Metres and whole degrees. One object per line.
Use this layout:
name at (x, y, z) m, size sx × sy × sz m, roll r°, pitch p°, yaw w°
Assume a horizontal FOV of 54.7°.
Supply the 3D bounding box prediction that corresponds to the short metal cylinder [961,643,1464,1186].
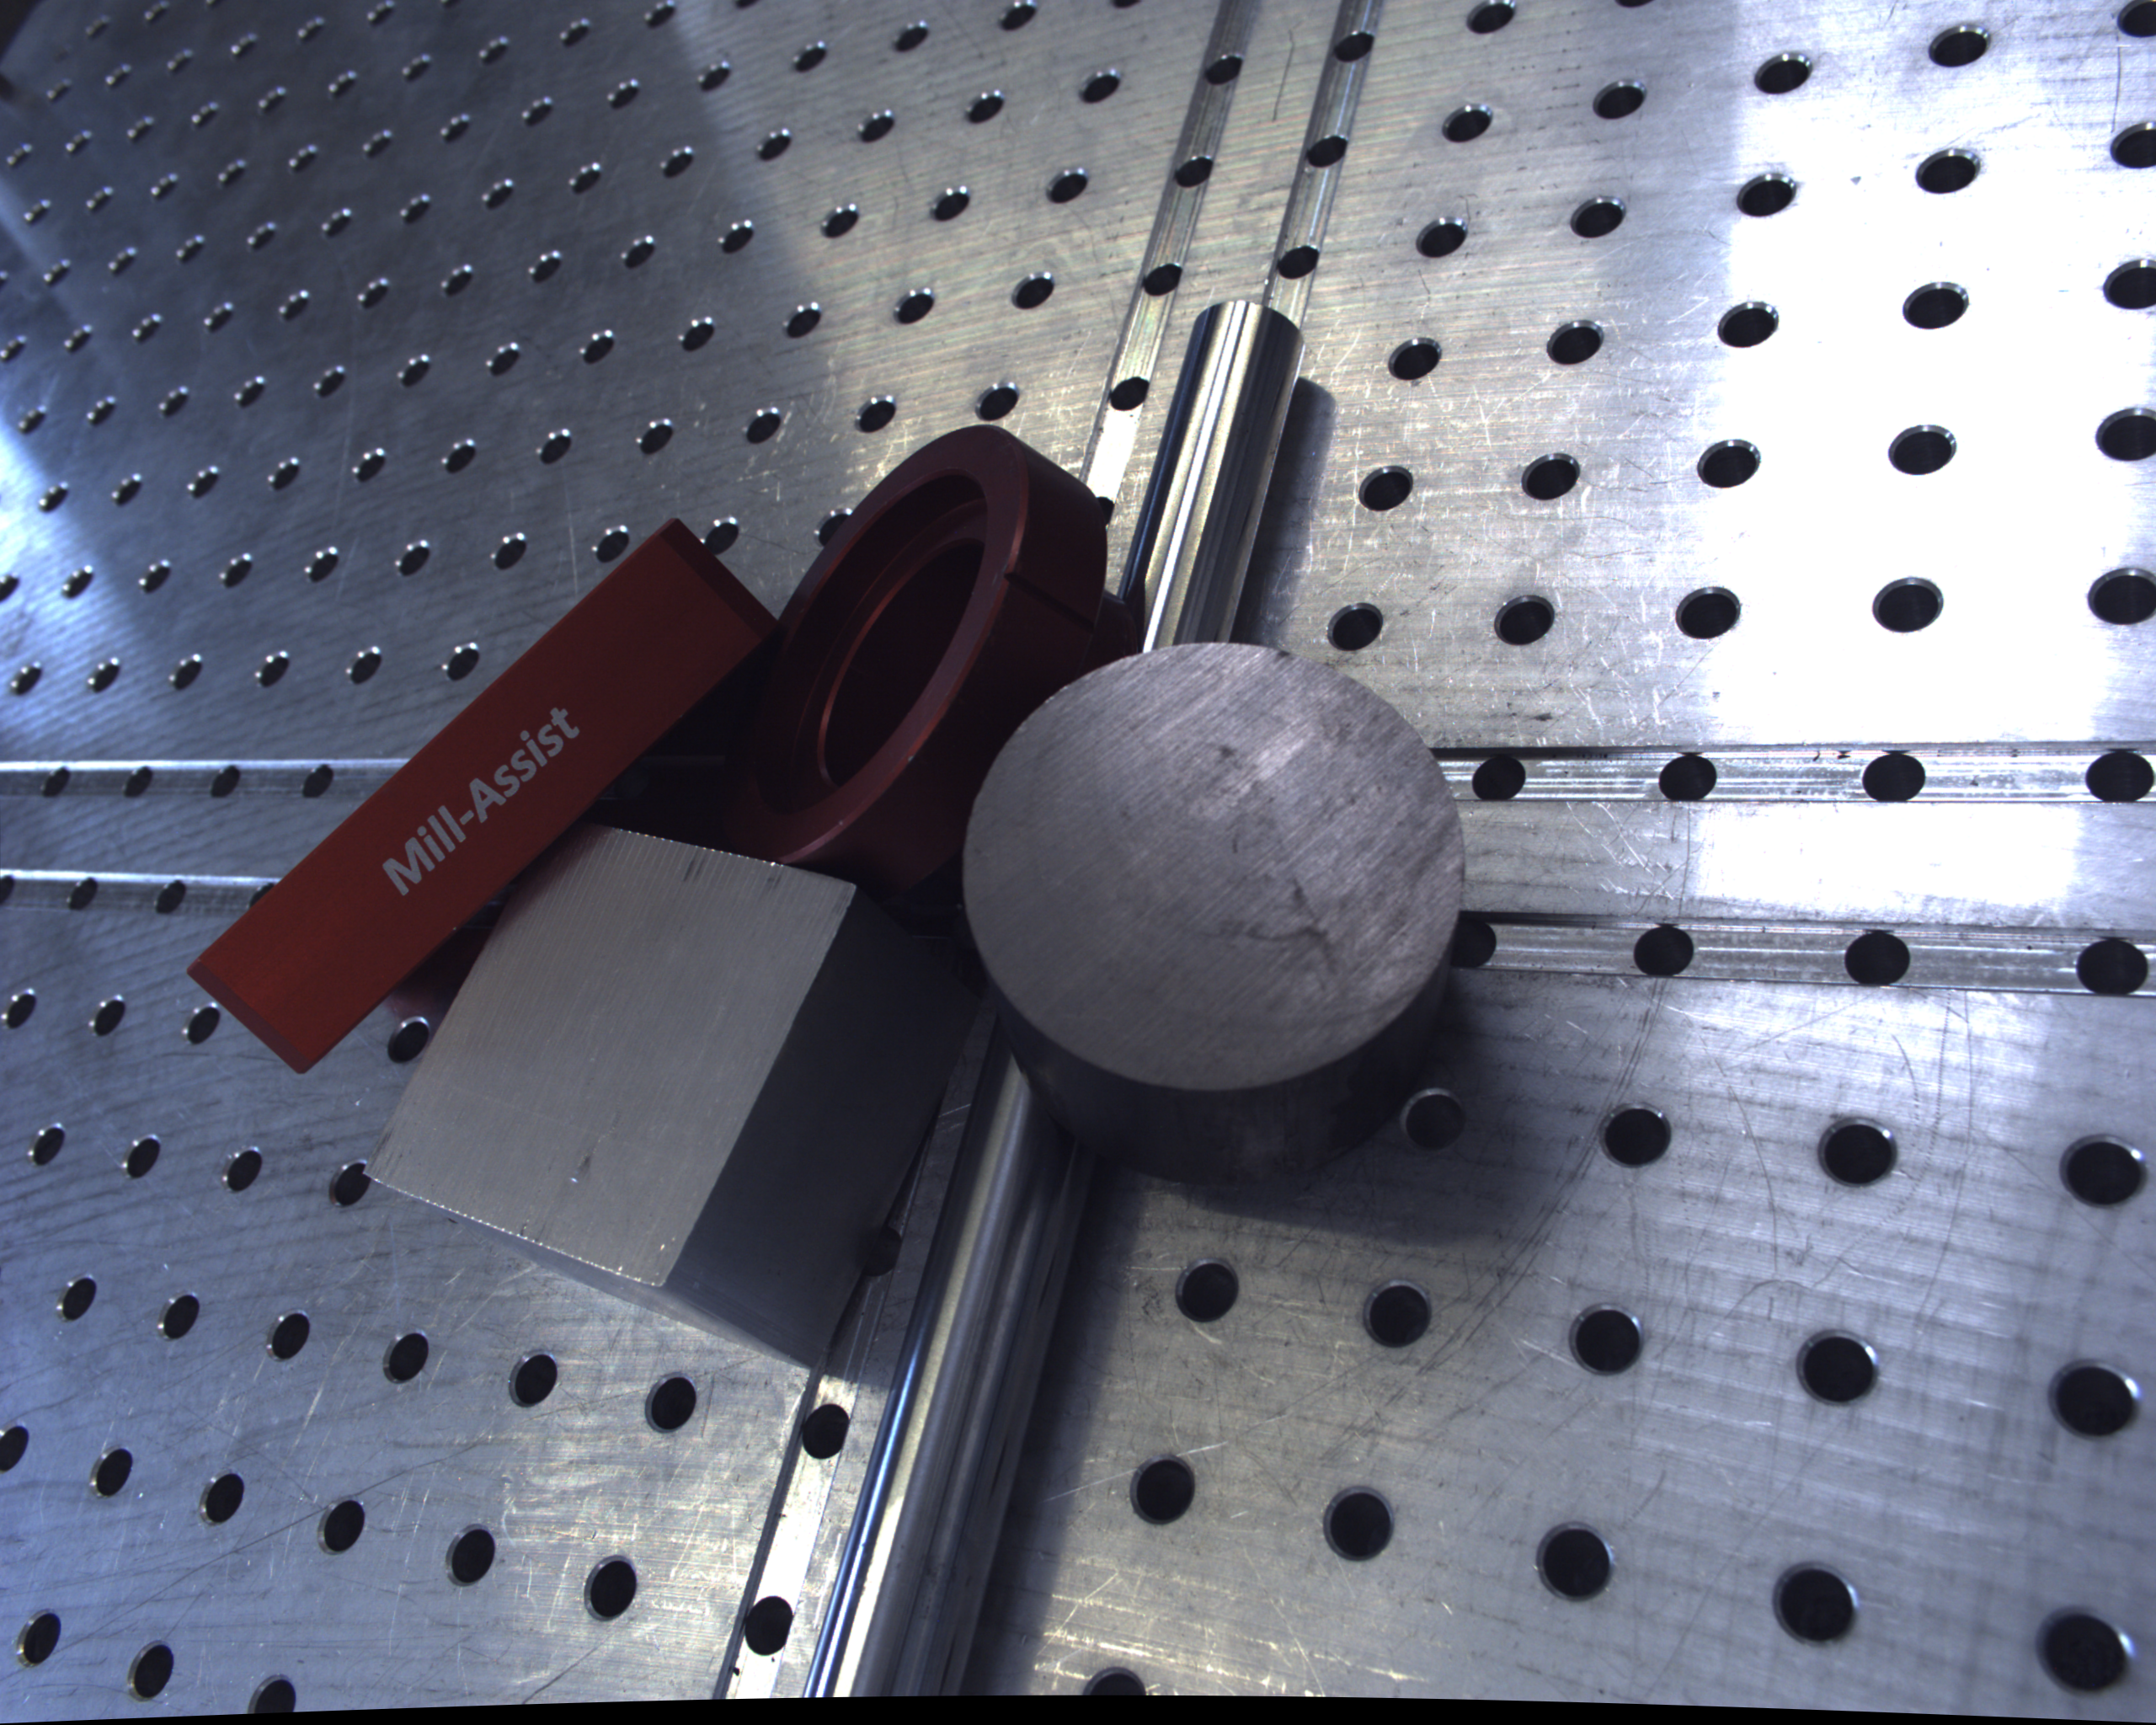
short metal cylinder at (0.023, 0.010, 0.357) m, size 0.080 × 0.050 × 0.080 m, roll -2°, pitch 64°, yaw 4°

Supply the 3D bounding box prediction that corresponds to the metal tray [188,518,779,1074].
metal tray at (-0.123, -0.018, 0.449) m, size 0.130 × 0.030 × 0.090 m, roll -44°, pitch 13°, yaw -2°

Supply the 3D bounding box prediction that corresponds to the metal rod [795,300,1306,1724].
metal rod at (0.001, 0.016, 0.398) m, size 0.025 × 0.025 × 0.300 m, roll 1°, pitch 62°, yaw 29°

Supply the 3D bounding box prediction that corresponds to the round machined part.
round machined part at (-0.026, -0.035, 0.416) m, size 0.098 × 0.042 × 0.098 m, roll -37°, pitch 36°, yaw 34°

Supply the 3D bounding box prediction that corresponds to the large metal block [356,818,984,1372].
large metal block at (-0.078, 0.043, 0.407) m, size 0.080 × 0.050 × 0.080 m, roll 11°, pitch 67°, yaw 32°
